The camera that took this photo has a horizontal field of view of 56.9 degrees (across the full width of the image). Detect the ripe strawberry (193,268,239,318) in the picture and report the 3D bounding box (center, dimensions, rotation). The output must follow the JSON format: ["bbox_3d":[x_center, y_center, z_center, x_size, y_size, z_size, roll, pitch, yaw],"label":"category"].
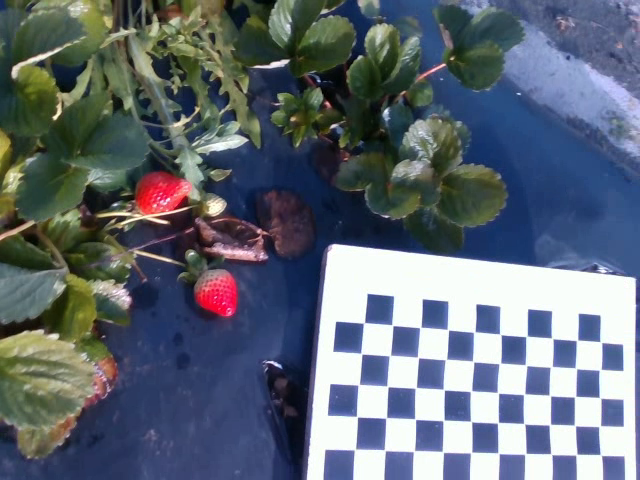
[{"bbox_3d":[-0.077,0.041,0.450,0.035,0.043,0.030,-29,-6,-16],"label":"ripe strawberry"}]

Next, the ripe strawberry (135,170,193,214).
[{"bbox_3d":[-0.120,-0.039,0.452,0.048,0.040,0.031,-12,-10,28],"label":"ripe strawberry"}]
